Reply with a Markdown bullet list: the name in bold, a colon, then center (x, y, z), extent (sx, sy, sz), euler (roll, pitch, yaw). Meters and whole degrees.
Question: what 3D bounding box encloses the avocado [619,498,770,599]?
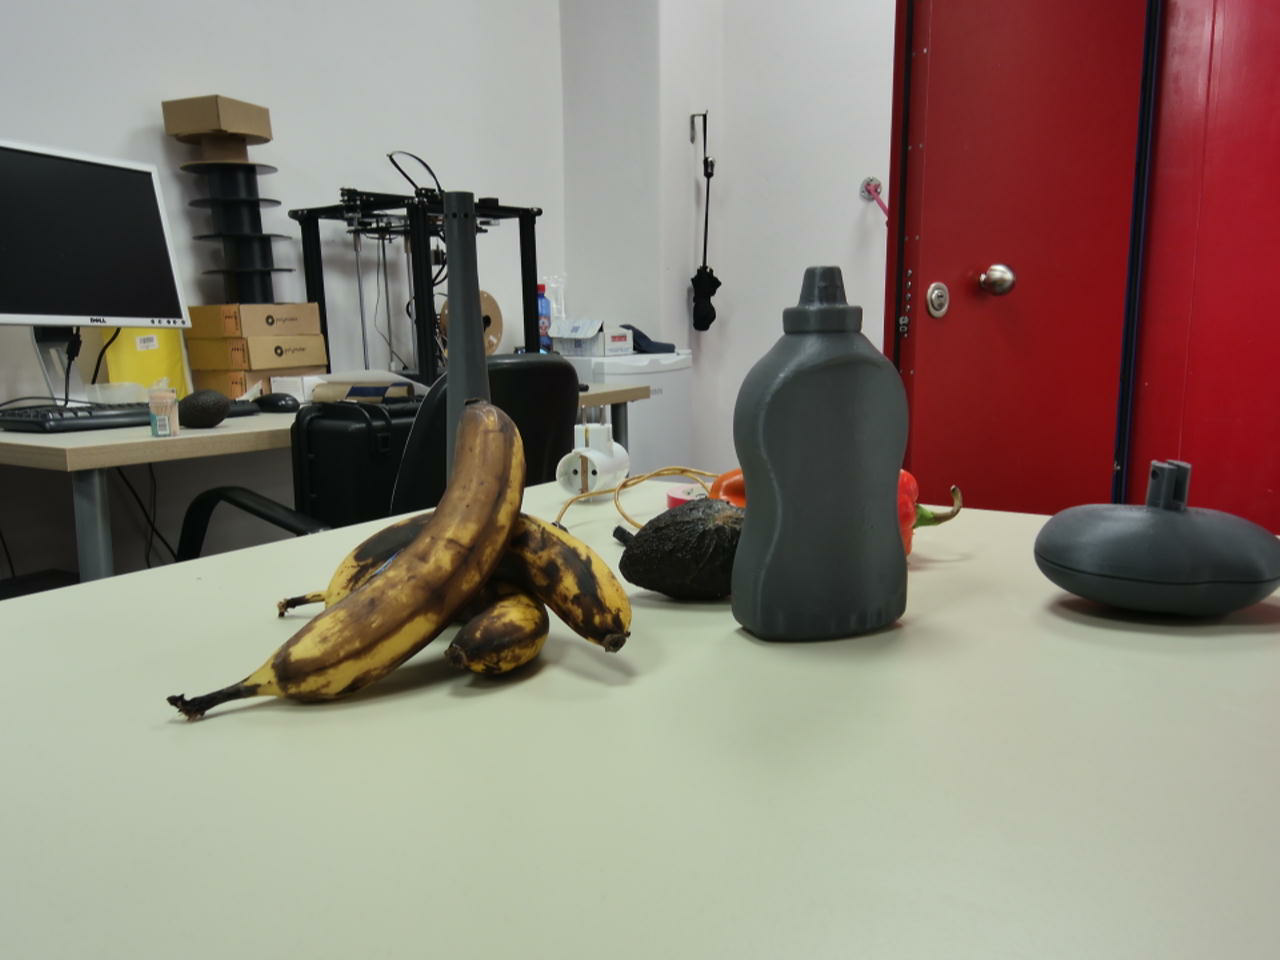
- **avocado**: center (0.034, 0.042, 0.618), extent (0.092, 0.062, 0.062), euler (3, 7, 11)
